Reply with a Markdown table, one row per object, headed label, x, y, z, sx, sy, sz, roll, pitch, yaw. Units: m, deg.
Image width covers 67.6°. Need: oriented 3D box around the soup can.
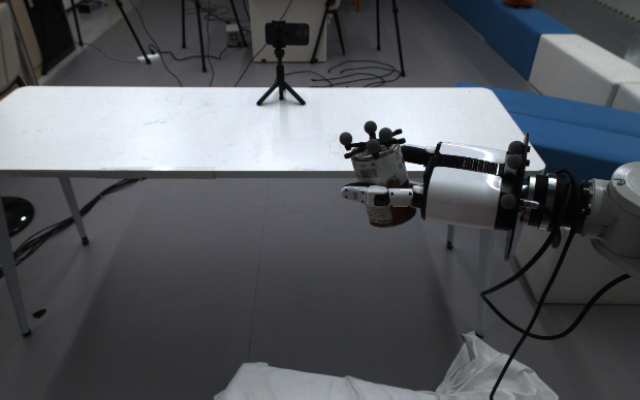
| label | x | y | z | sx | sy | sz | roll | pitch | yaw |
| --- | --- | --- | --- | --- | --- | --- | --- | --- | --- |
| soup can | 0.086 | -0.024 | 0.646 | 0.067 | 0.101 | 0.067 | -16 | 23 | 7 |
